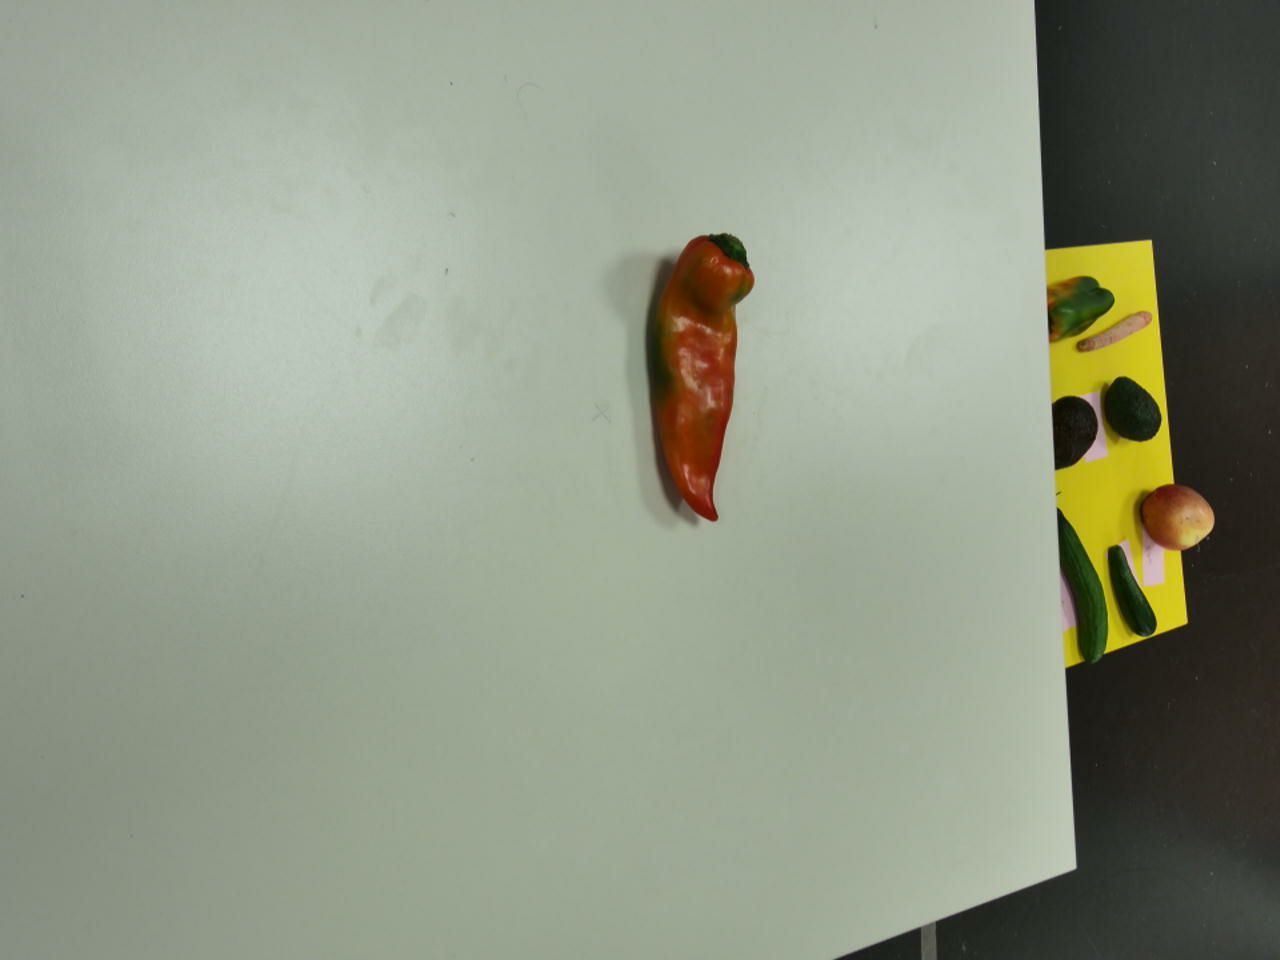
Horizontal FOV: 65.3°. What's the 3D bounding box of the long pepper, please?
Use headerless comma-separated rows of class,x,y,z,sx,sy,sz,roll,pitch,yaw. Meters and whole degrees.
long pepper,0.047,-0.070,0.694,0.066,0.065,0.199,1,90,-28
